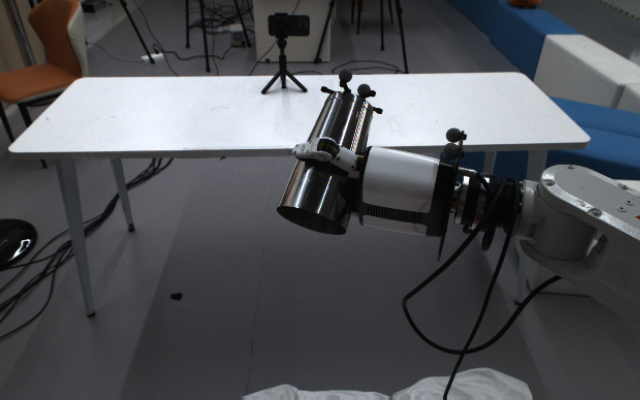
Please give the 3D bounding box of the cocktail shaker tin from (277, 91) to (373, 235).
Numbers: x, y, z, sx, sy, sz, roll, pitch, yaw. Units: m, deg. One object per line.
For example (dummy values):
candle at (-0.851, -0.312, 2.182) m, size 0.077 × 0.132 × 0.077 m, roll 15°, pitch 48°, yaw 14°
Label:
cocktail shaker tin at (0.015, -0.050, 0.626) m, size 0.093 × 0.093 × 0.170 m, roll 14°, pitch 73°, yaw 16°
